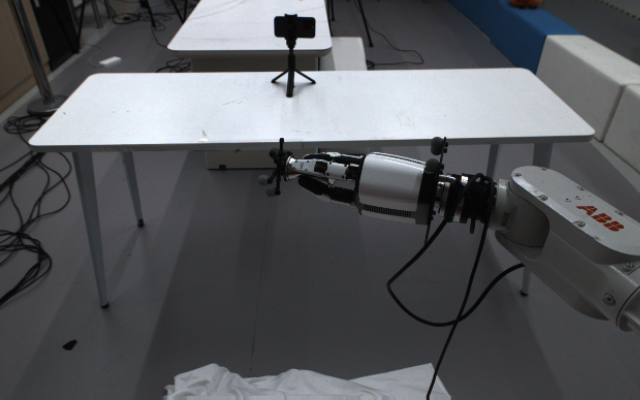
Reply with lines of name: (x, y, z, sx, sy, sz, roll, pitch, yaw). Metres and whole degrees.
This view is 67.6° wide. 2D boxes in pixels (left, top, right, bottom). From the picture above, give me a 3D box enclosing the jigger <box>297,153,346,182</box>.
jigger: (-0.008, -0.049, 0.727, 0.071, 0.043, 0.043, 8, 35, 16)
